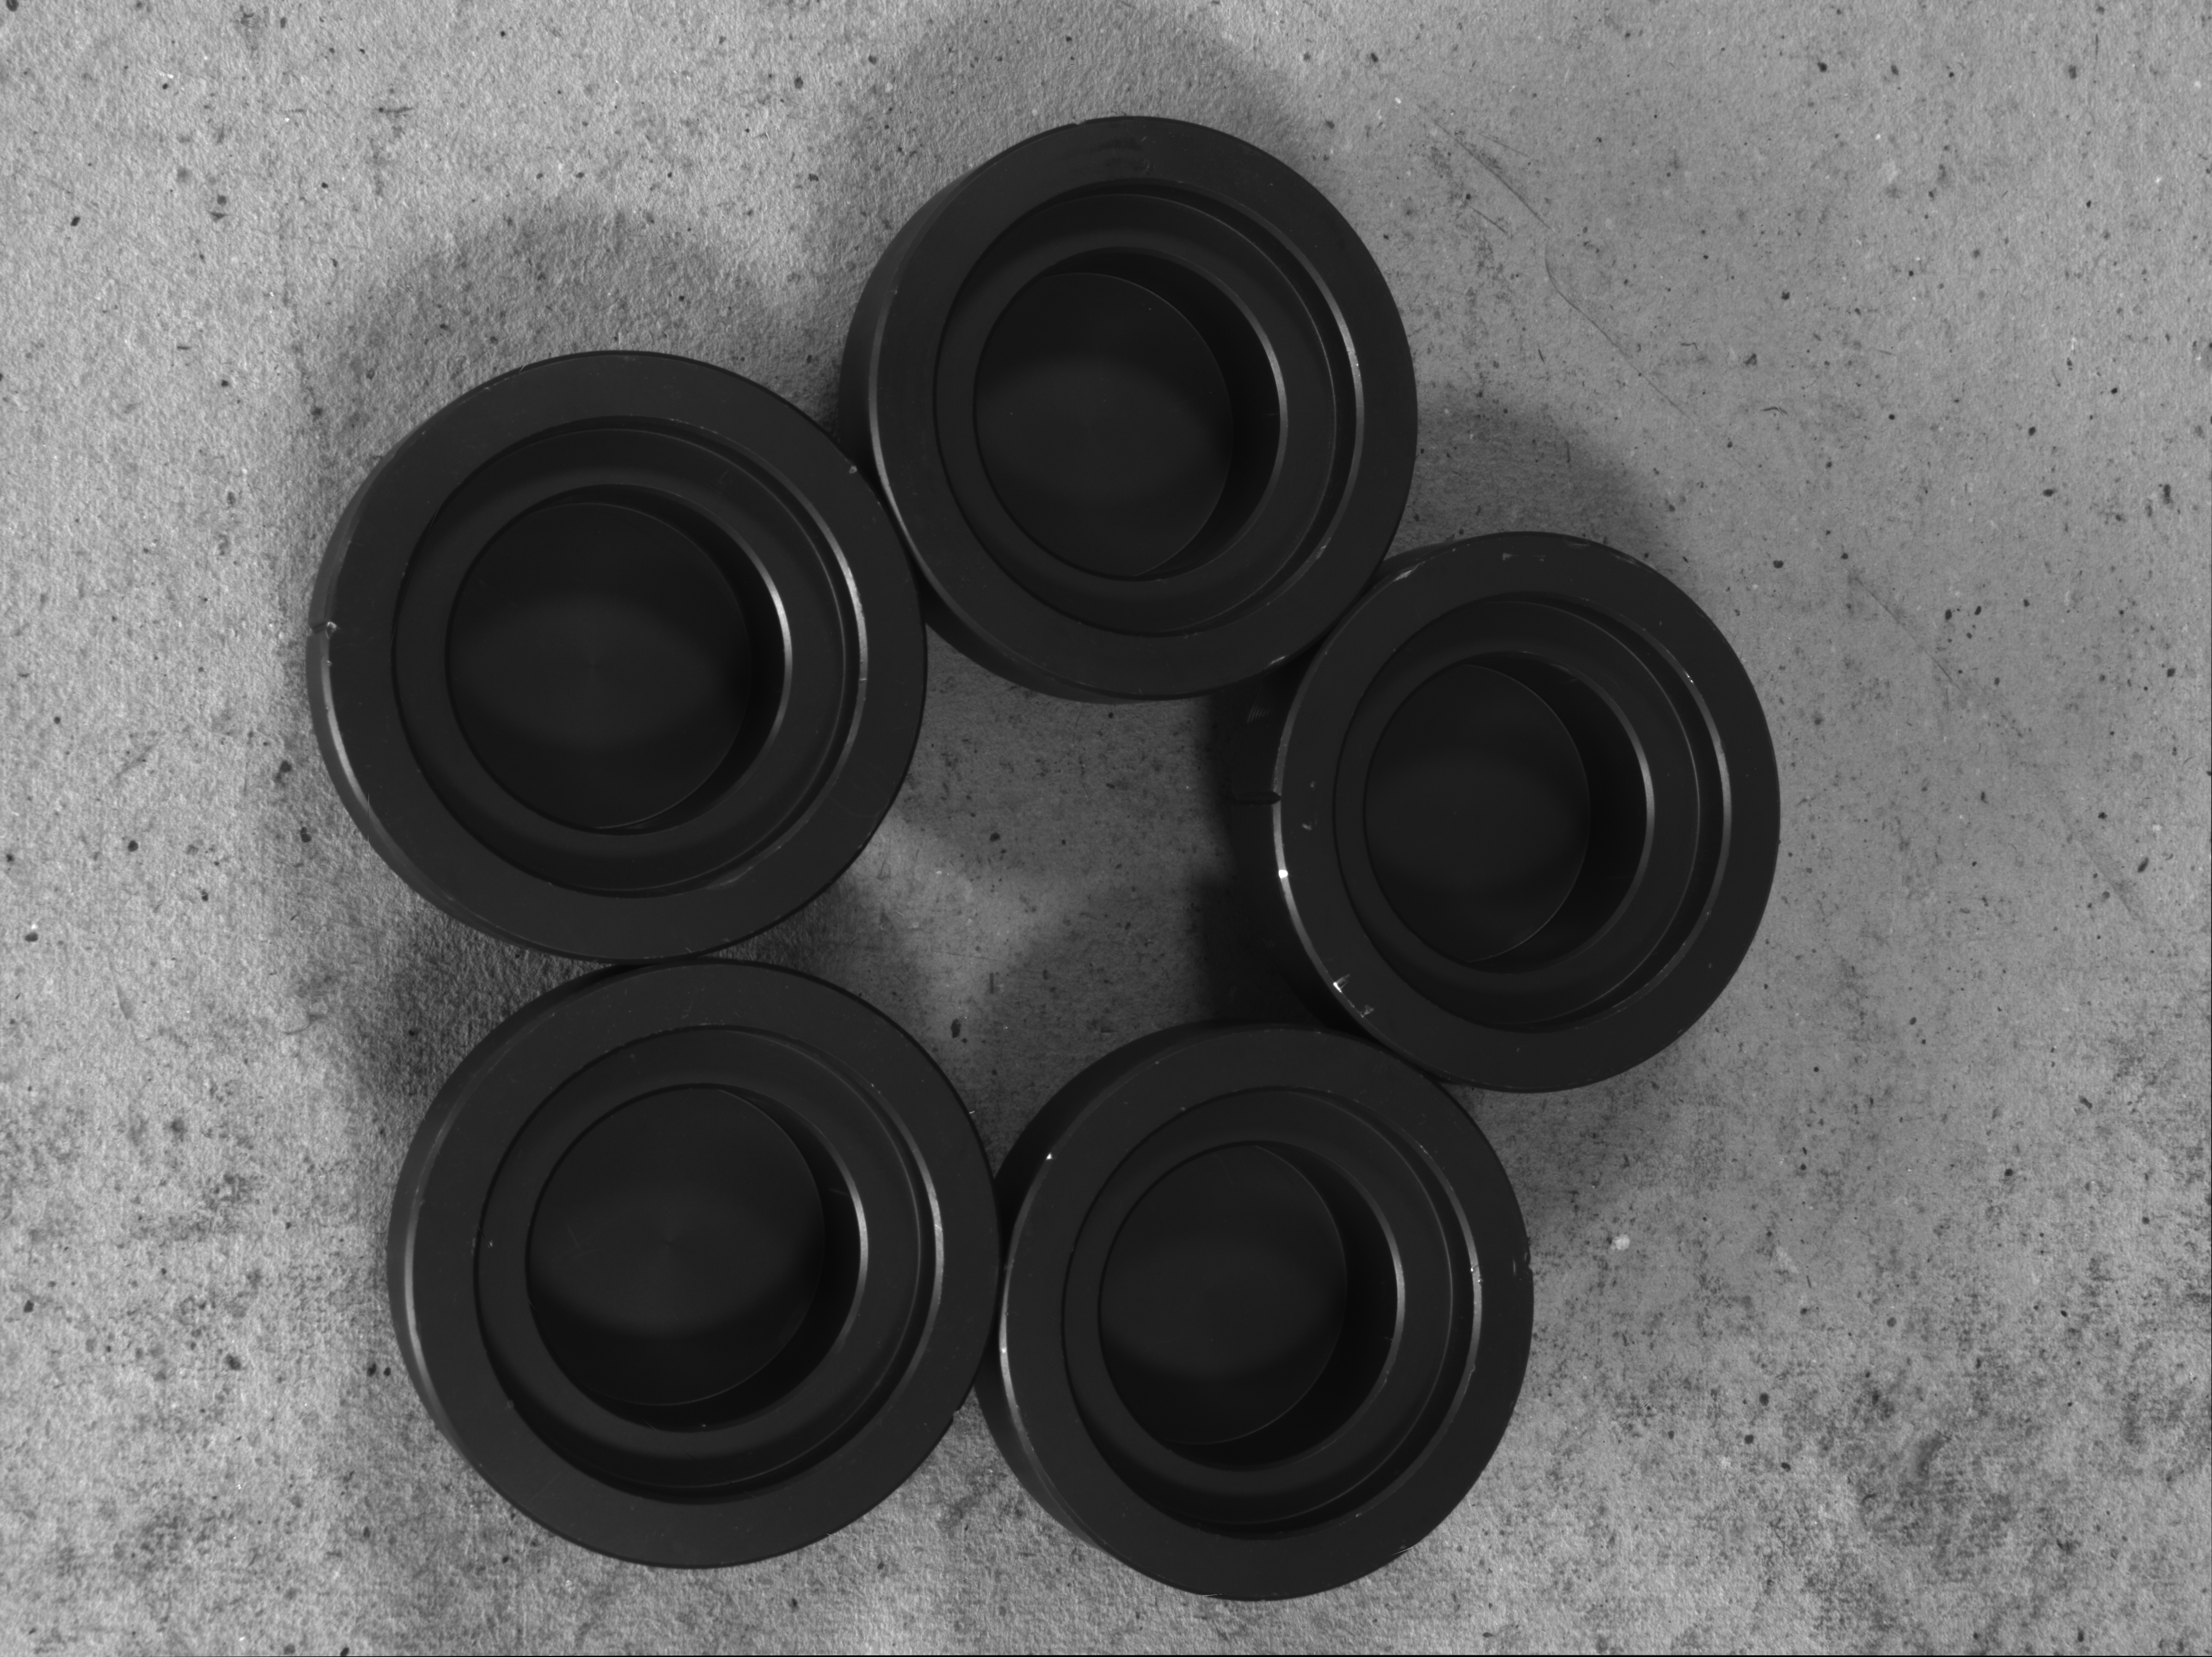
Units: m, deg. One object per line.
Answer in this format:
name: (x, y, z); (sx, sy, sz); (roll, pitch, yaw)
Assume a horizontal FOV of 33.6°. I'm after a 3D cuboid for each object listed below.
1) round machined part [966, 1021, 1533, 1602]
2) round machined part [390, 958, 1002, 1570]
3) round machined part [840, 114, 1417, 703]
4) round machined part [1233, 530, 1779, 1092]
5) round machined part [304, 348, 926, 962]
round machined part: (0.022, 0.083, 0.642); (0.098, 0.042, 0.098); (0, 89, -21)
round machined part: (-0.070, 0.070, 0.608); (0.098, 0.042, 0.098); (1, 88, -21)
round machined part: (0.001, -0.070, 0.633); (0.098, 0.042, 0.098); (1, 88, -21)
round machined part: (0.068, -0.003, 0.658); (0.098, 0.042, 0.098); (1, 88, -21)
round machined part: (-0.082, -0.027, 0.604); (0.098, 0.042, 0.098); (1, 88, -20)
